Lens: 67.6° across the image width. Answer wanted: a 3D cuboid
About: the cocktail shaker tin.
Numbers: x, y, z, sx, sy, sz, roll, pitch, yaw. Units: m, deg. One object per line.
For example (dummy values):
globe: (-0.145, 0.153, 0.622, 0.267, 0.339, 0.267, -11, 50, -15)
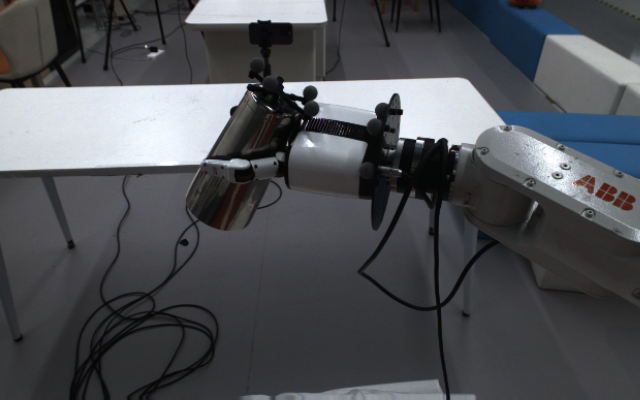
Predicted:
cocktail shaker tin: (-0.091, -0.057, 0.597, 0.093, 0.170, 0.093, 26, 32, -18)
